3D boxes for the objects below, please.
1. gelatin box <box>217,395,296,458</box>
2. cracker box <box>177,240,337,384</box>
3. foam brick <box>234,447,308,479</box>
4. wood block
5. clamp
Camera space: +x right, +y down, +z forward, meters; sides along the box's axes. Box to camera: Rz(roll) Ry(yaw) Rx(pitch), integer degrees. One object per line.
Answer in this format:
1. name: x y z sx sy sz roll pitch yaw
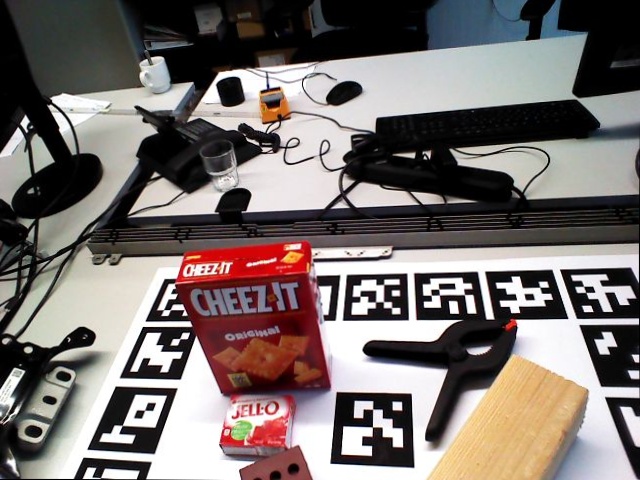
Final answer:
1. gelatin box: -0.080 0.239 0.666 0.090 0.030 0.073 -4 43 11
2. cracker box: -0.071 0.098 0.671 0.165 0.214 0.071 -4 41 7
3. foam brick: -0.052 0.282 0.590 0.078 0.051 0.052 -19 43 -7
4. wood block: 0.197 0.235 0.553 0.090 0.091 0.205 24 50 38
5. clamp: 0.180 0.153 0.685 0.202 0.037 0.165 -24 43 -11
